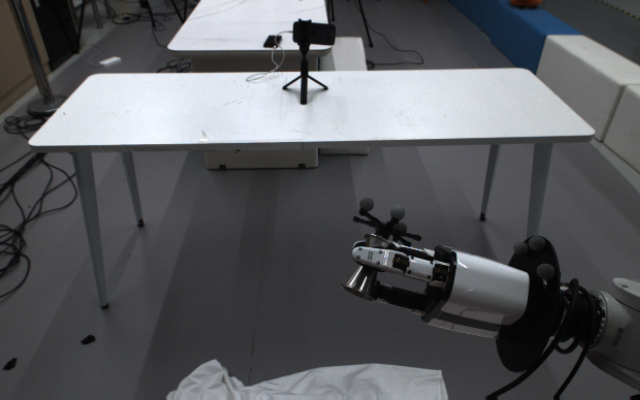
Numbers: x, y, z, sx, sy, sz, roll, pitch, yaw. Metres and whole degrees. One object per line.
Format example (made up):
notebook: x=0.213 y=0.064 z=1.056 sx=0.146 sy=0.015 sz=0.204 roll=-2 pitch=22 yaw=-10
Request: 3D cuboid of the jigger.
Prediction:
jigger: x=0.057 y=0.075 z=0.560 sx=0.043 sy=0.043 sz=0.071 roll=19 pitch=72 yaw=23
